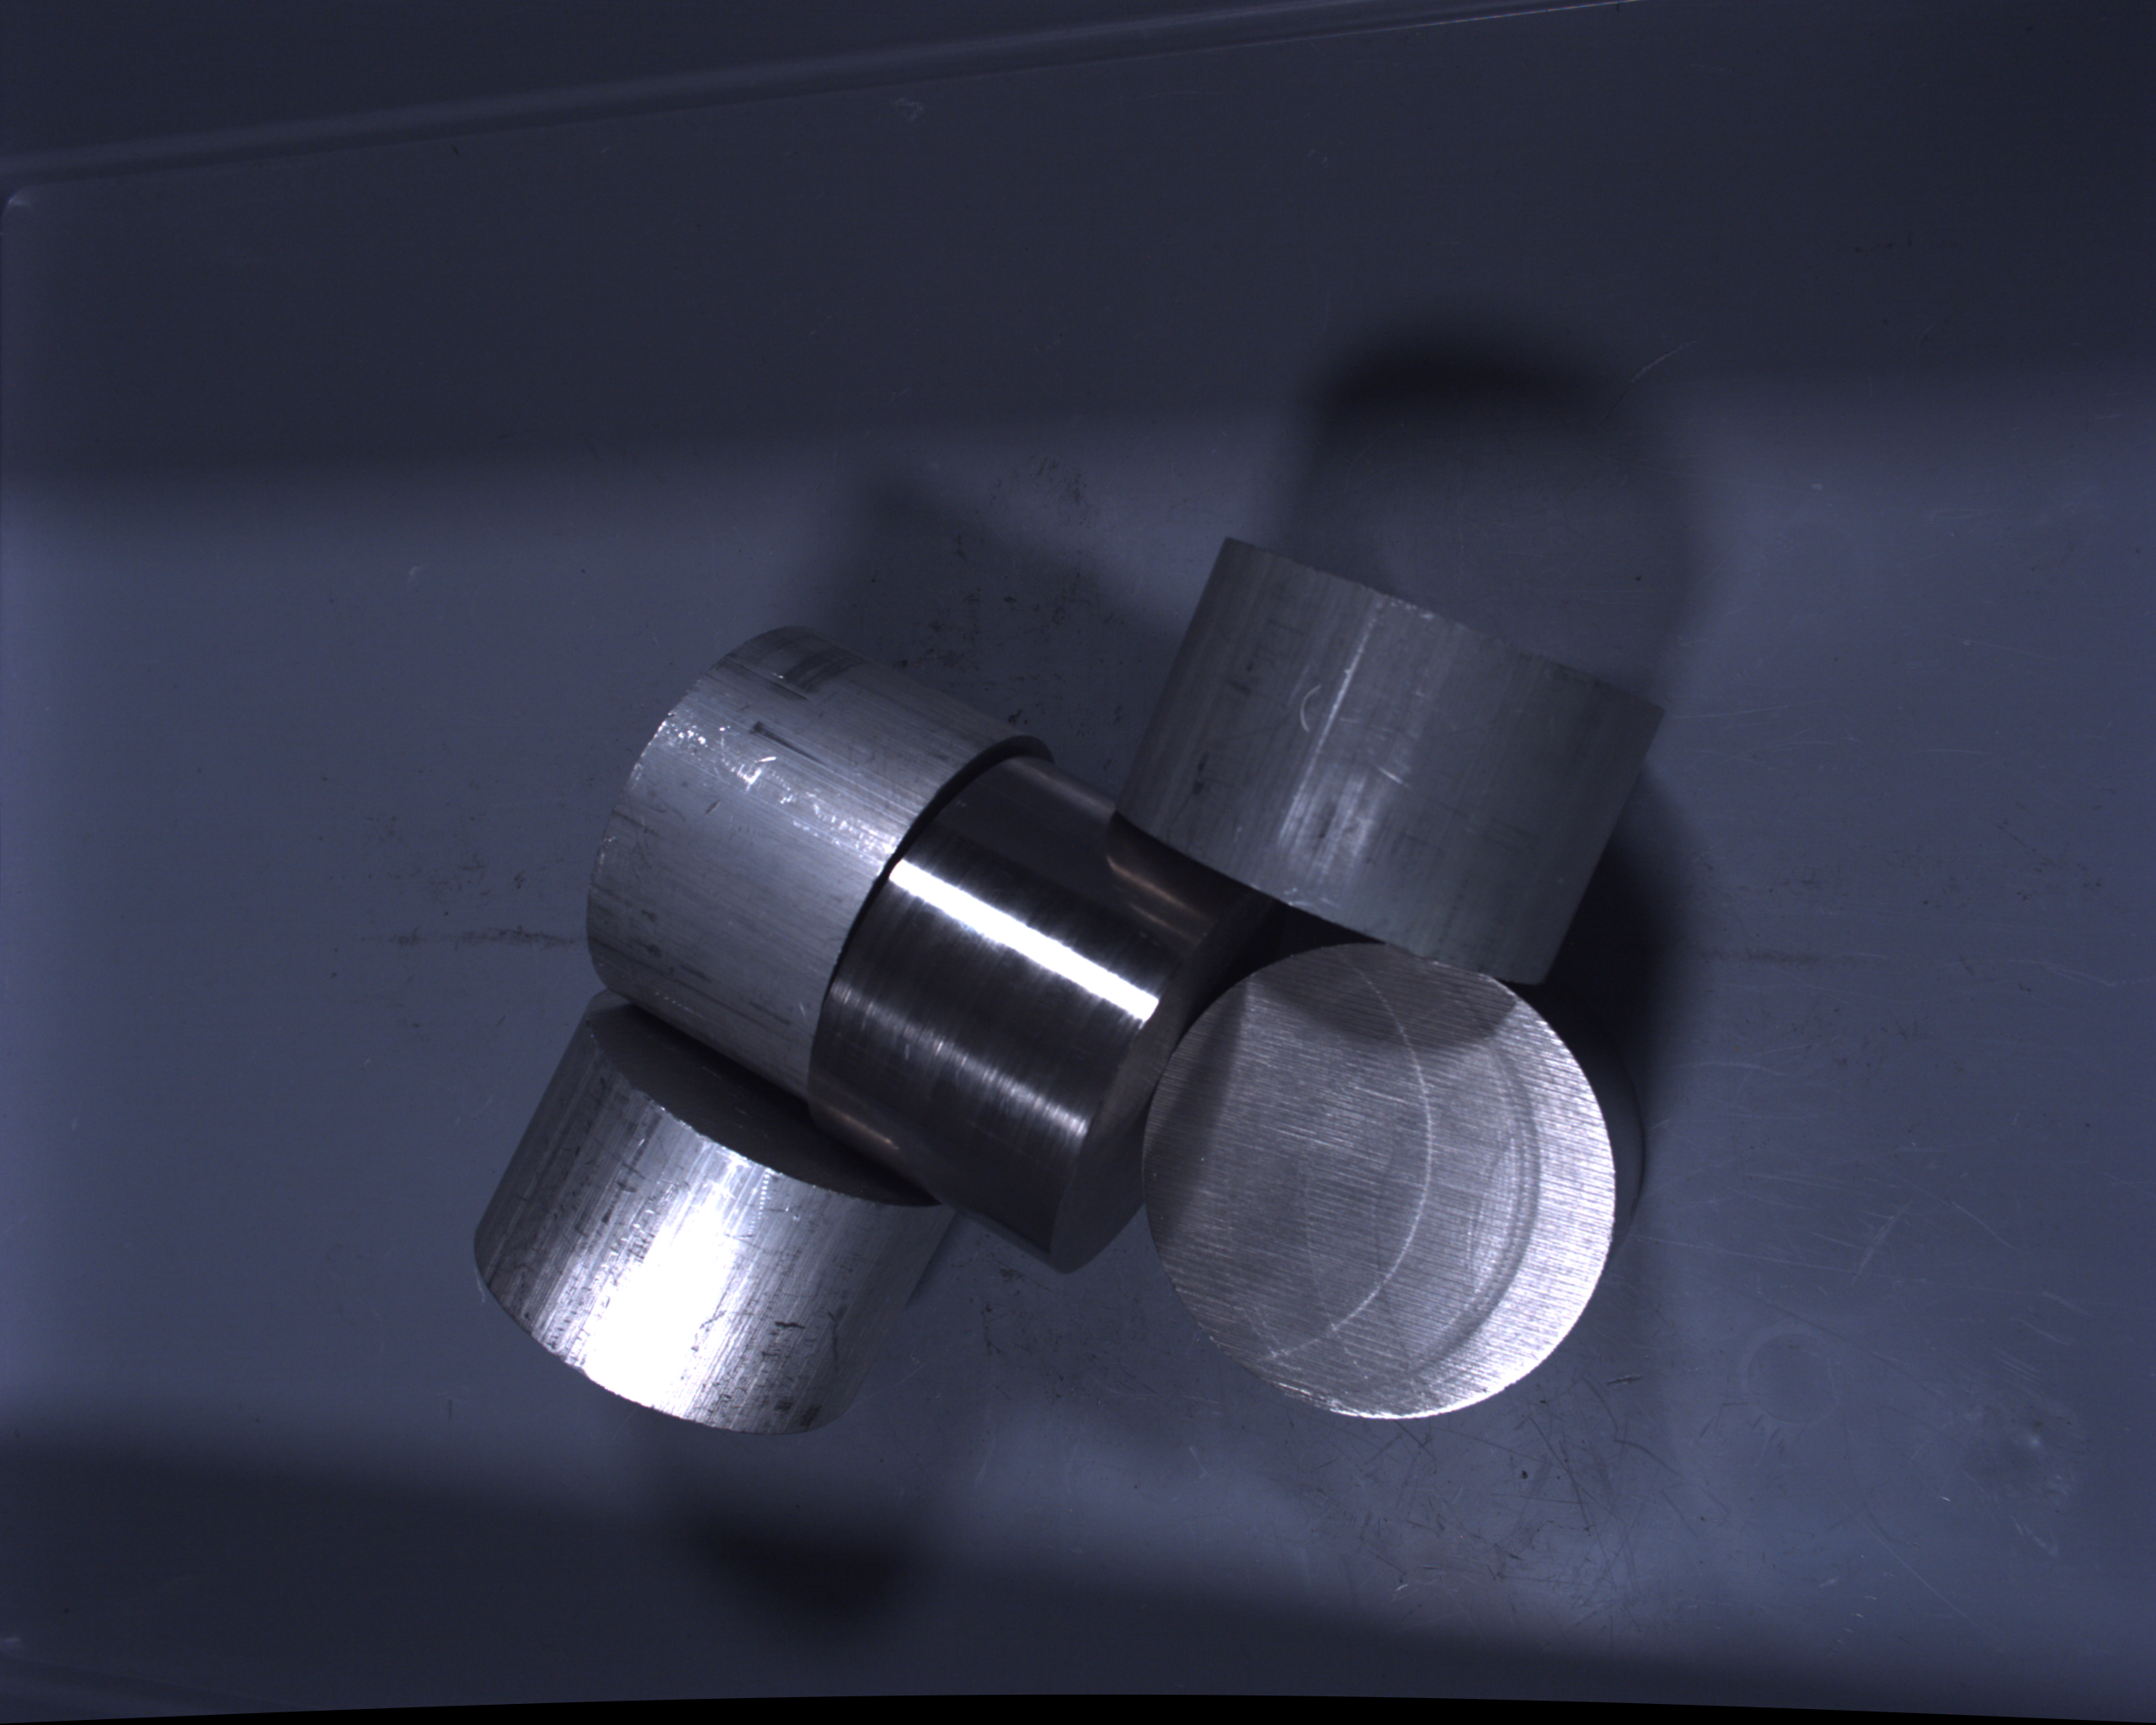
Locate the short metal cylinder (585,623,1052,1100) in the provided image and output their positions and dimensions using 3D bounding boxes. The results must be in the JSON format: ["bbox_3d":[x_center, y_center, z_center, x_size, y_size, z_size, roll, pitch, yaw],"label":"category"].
[{"bbox_3d":[-0.047,0.001,0.395,0.050,0.080,0.080,27,99,17],"label":"short metal cylinder"}]

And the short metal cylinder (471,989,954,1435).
[{"bbox_3d":[-0.068,0.065,0.402,0.080,0.080,0.050,31,100,17],"label":"short metal cylinder"}]

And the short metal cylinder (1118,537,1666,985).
[{"bbox_3d":[0.053,-0.018,0.360,0.080,0.080,0.050,24,98,18],"label":"short metal cylinder"}]

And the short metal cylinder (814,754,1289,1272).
[{"bbox_3d":[-0.003,0.027,0.381,0.050,0.080,0.080,28,99,17],"label":"short metal cylinder"}]

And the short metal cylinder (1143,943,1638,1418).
[{"bbox_3d":[0.058,0.053,0.374,0.080,0.050,0.079,0,90,19],"label":"short metal cylinder"}]
